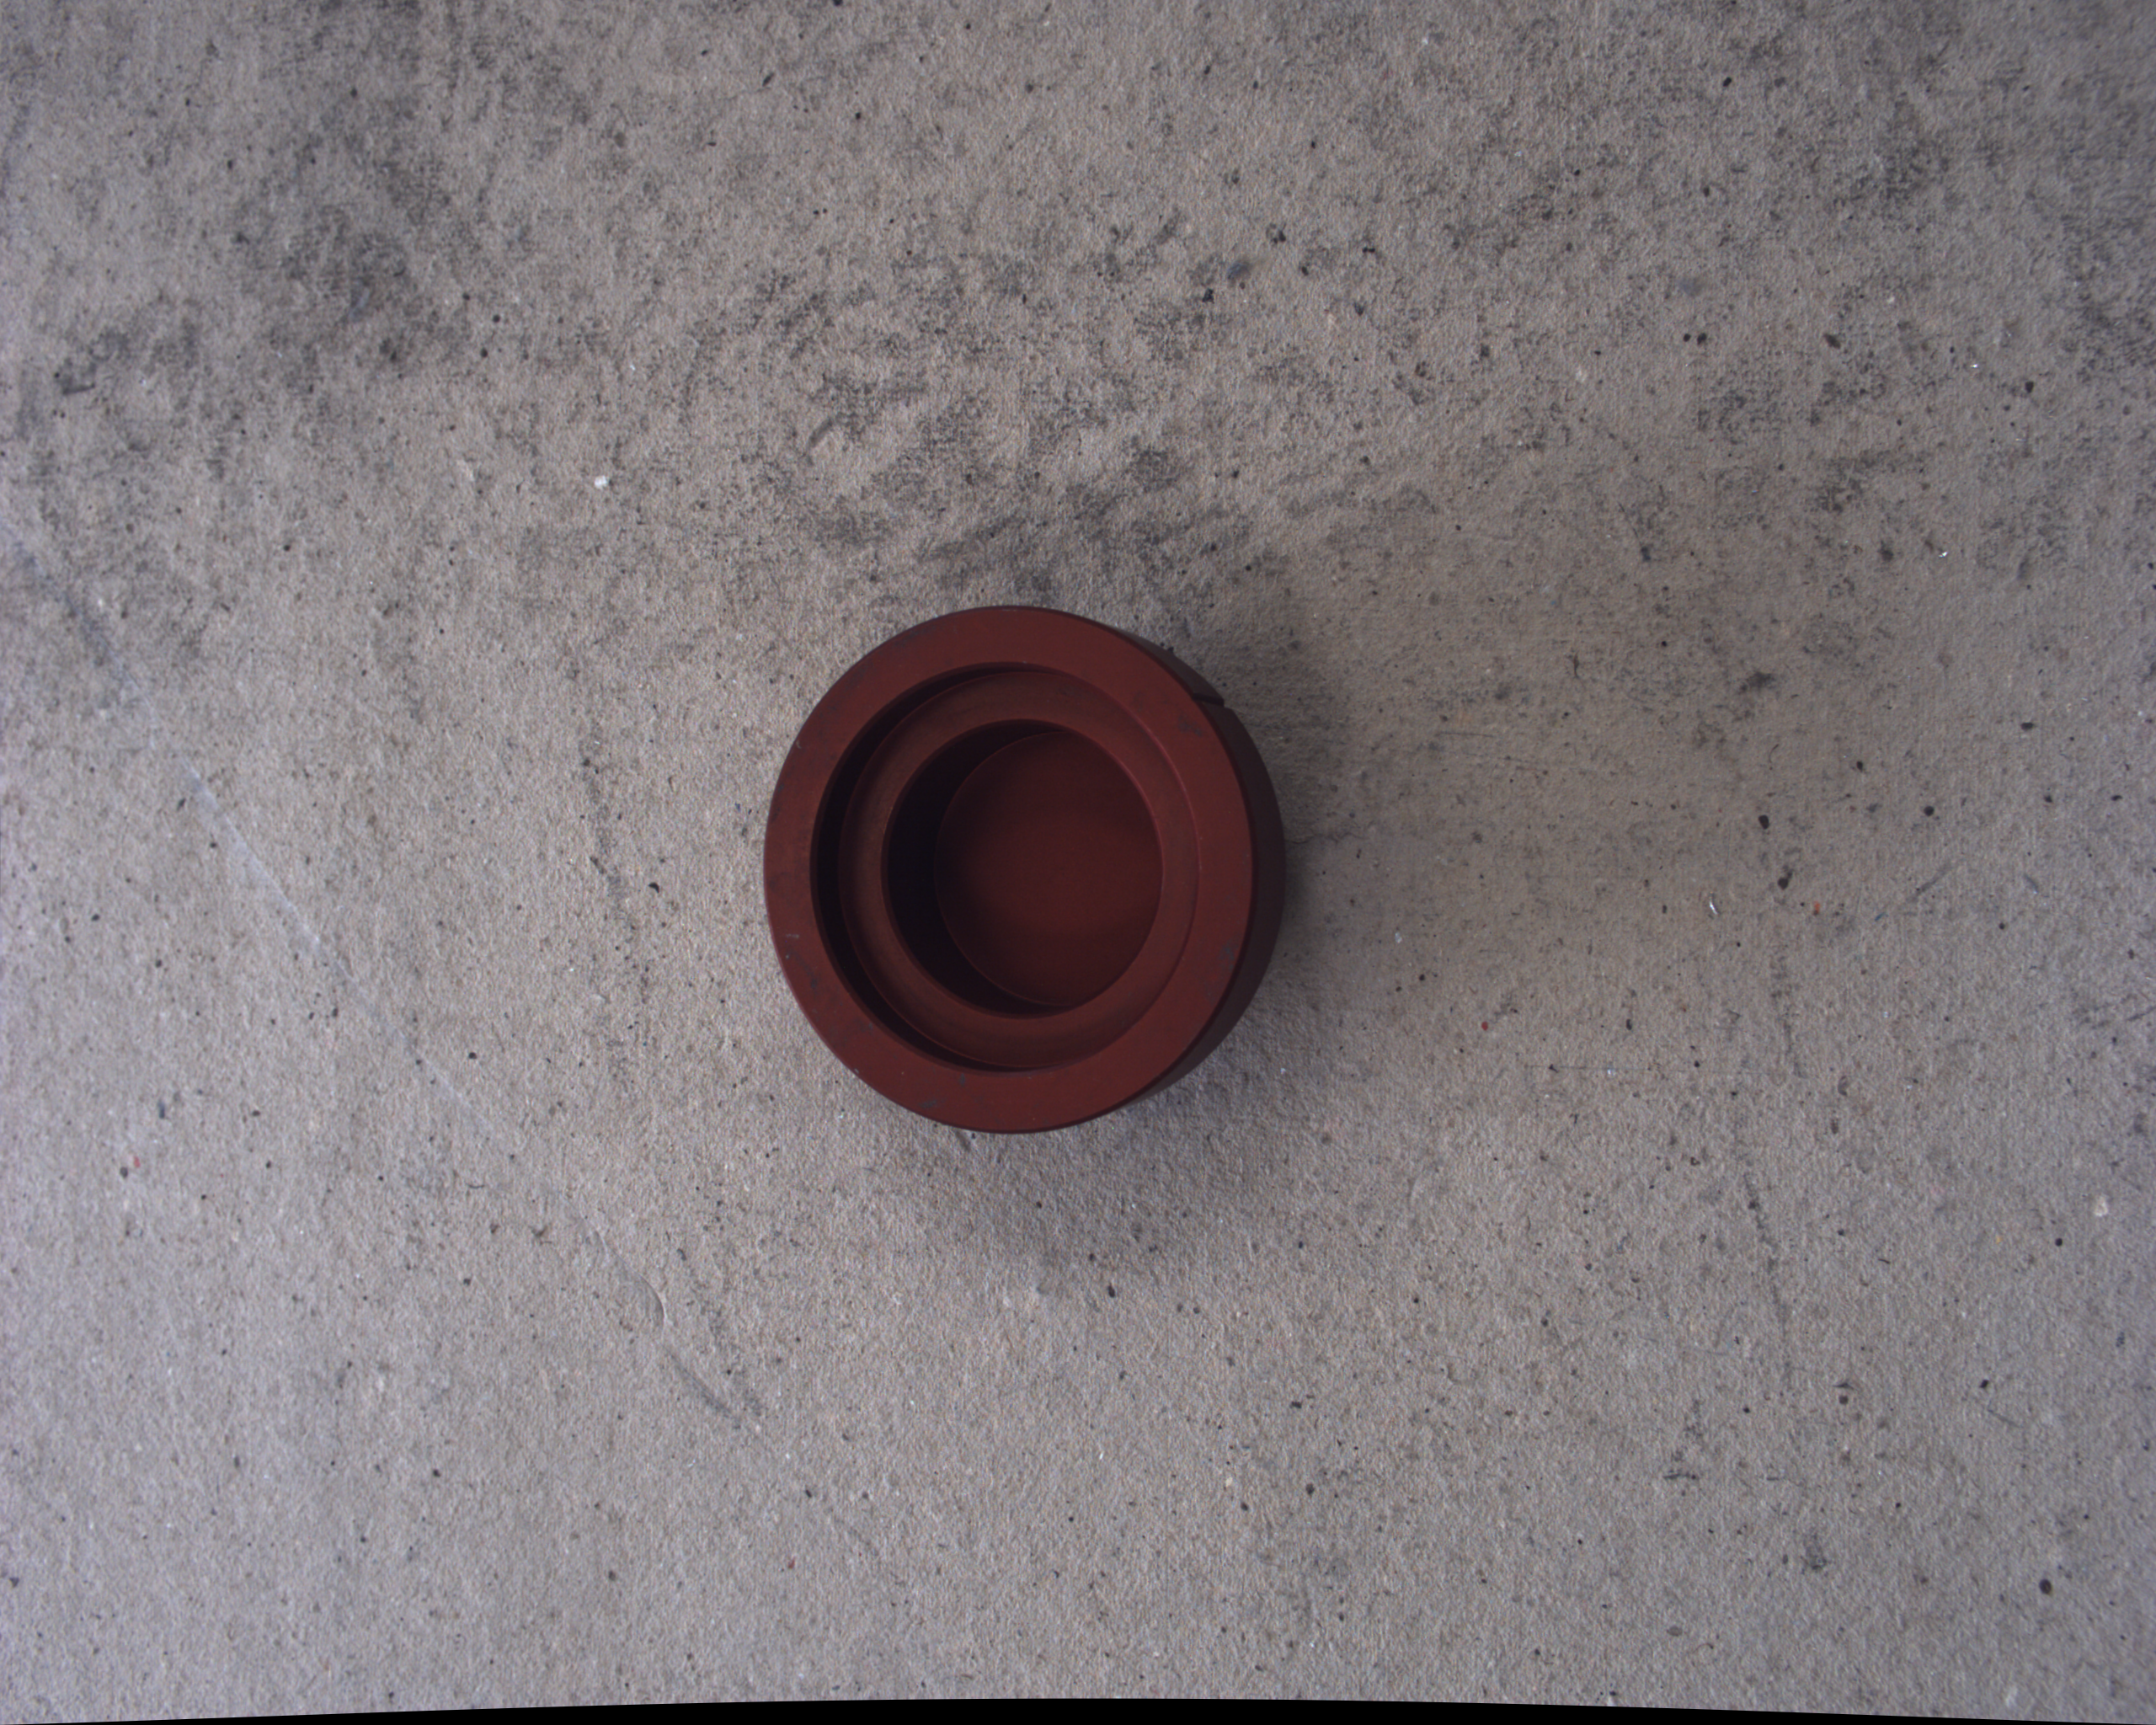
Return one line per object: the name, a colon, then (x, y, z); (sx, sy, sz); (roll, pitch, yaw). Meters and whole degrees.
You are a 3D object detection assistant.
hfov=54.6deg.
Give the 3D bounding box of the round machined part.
round machined part: (-0.007, 0.001, 0.404); (0.098, 0.042, 0.097); (0, 90, 20)
